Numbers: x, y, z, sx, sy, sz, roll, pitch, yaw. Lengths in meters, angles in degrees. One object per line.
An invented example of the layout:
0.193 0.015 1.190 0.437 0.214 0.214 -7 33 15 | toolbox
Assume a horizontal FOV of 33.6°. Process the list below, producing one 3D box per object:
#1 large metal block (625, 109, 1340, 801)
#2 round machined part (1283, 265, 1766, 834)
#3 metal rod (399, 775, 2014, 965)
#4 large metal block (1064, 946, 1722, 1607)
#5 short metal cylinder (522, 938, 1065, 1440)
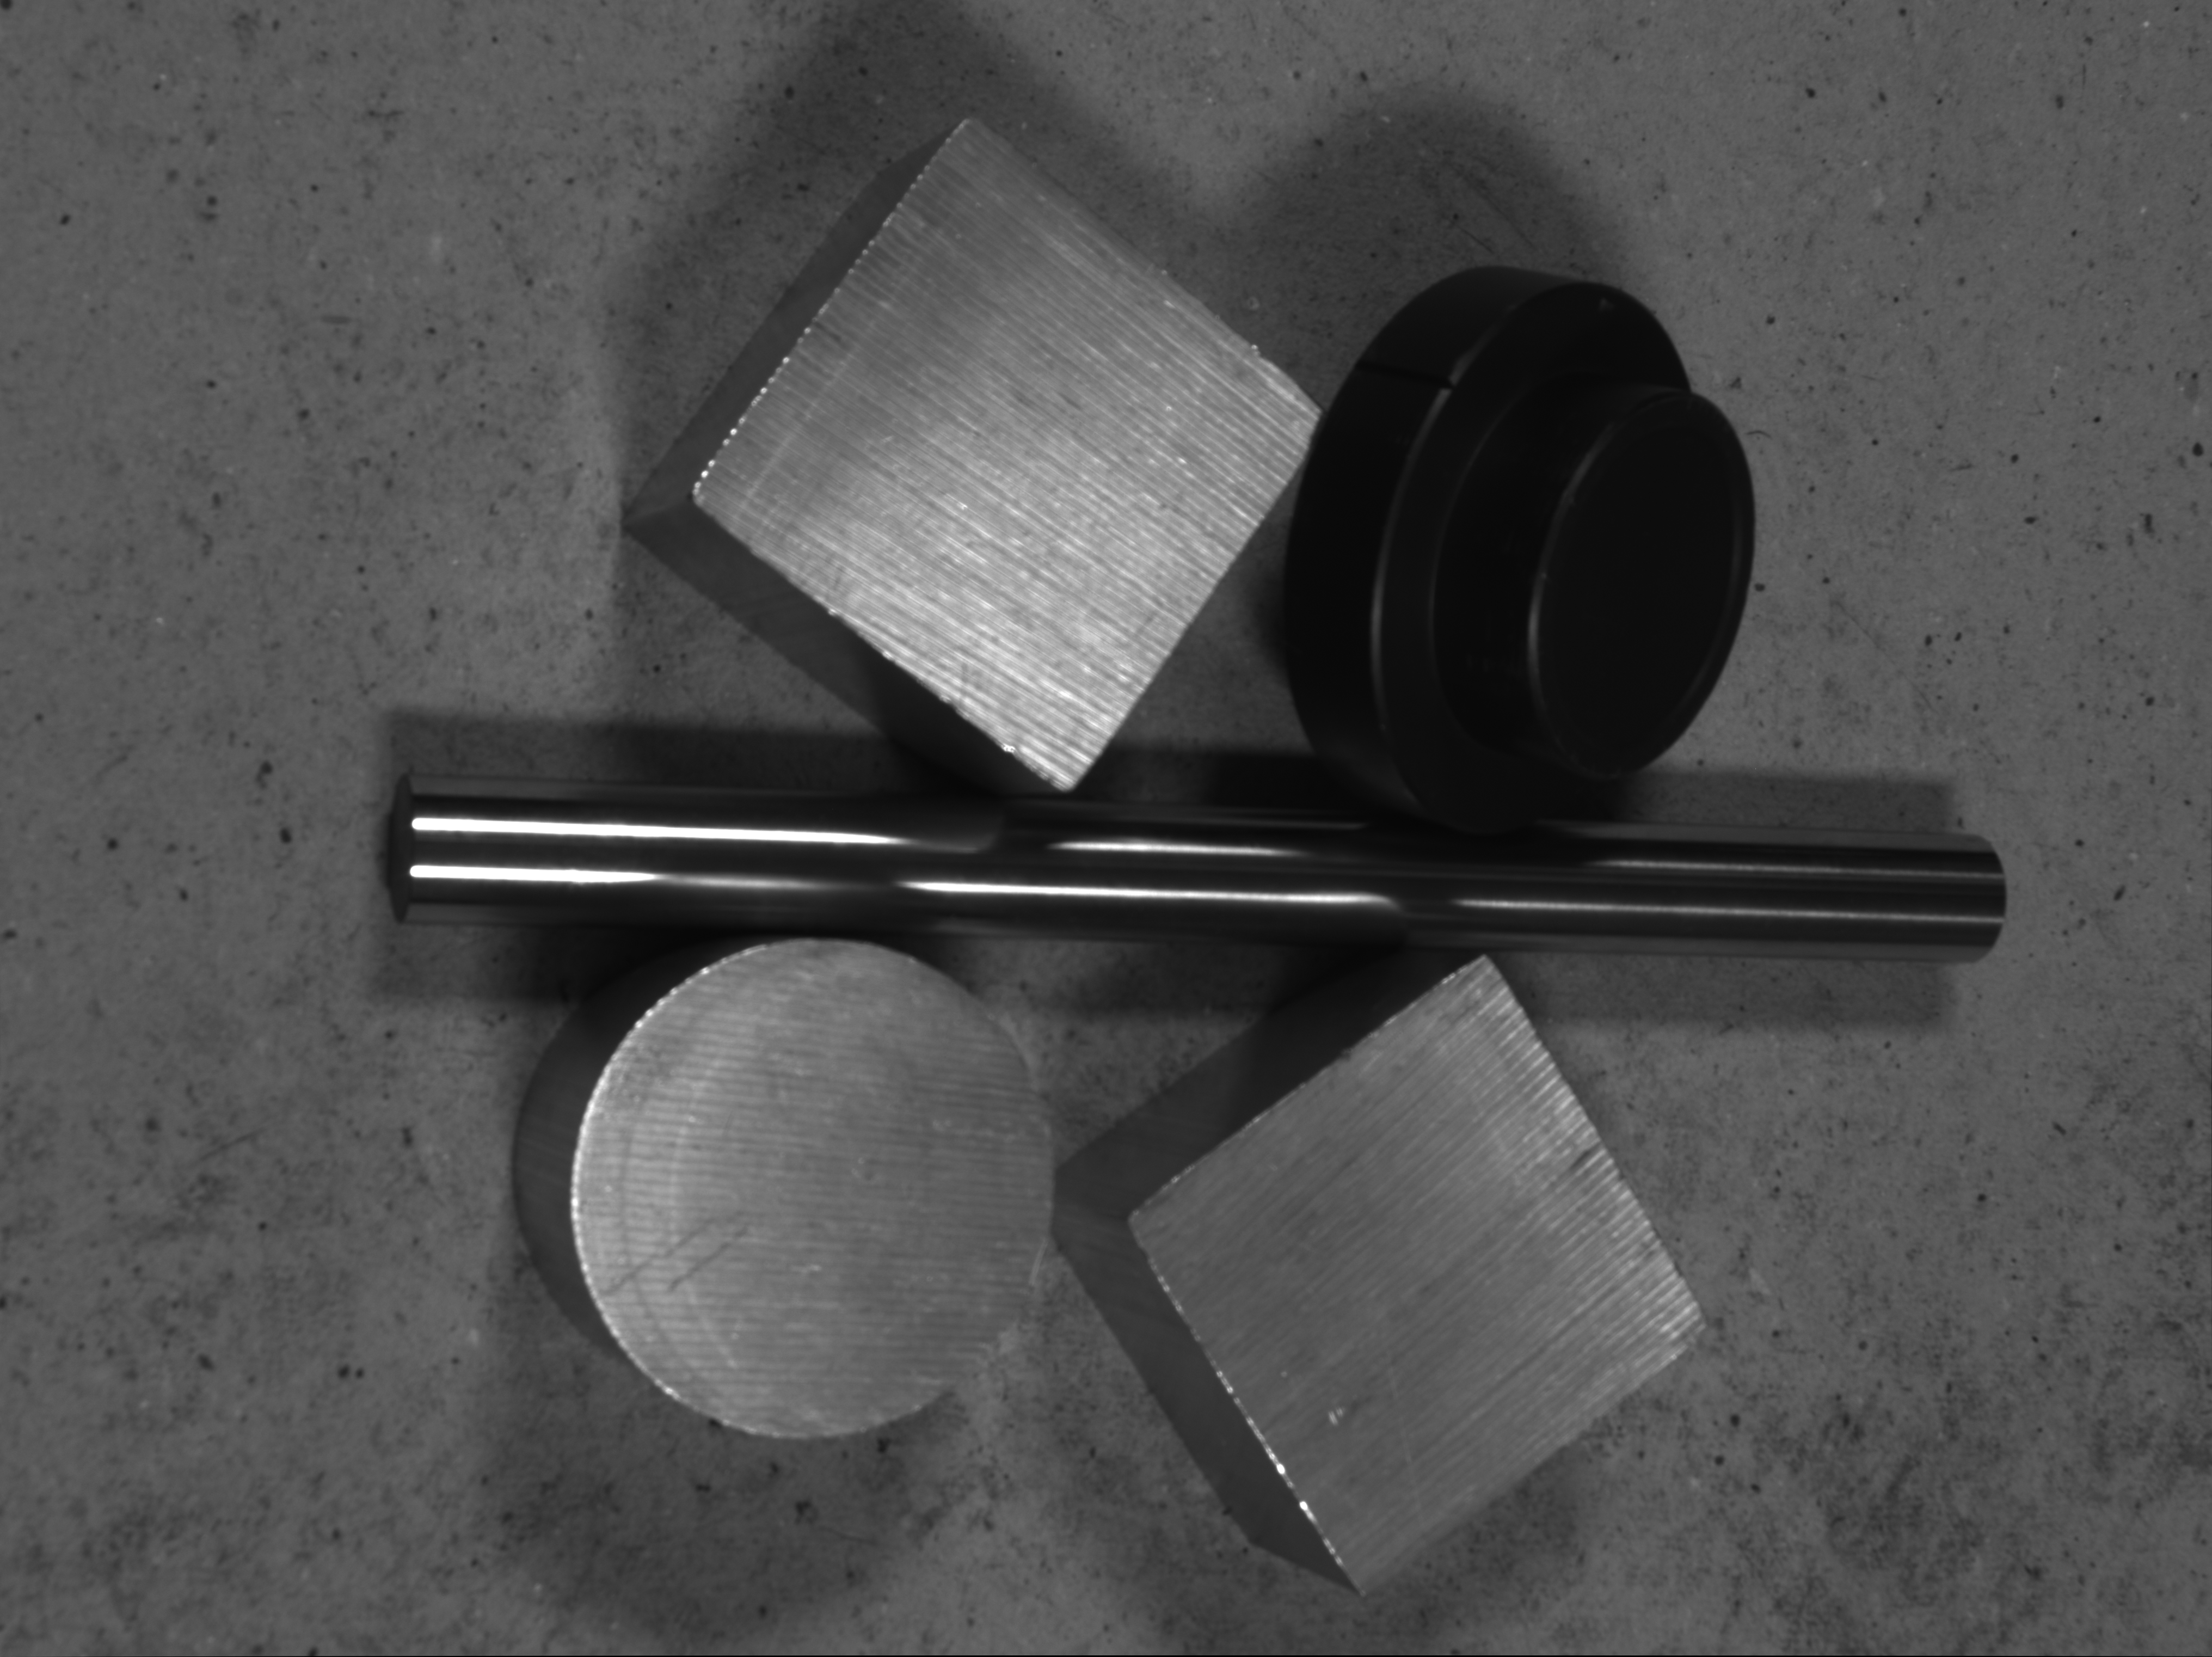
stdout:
-0.021 -0.061 0.620 0.080 0.050 0.080 38 78 -16 | large metal block
0.078 -0.046 0.638 0.098 0.042 0.098 -20 118 -42 | round machined part
0.027 0.009 0.654 0.301 0.025 0.025 2 89 -20 | metal rod
0.048 0.076 0.647 0.080 0.050 0.080 -35 101 -17 | large metal block
-0.053 0.058 0.611 0.080 0.050 0.080 0 90 -20 | short metal cylinder
